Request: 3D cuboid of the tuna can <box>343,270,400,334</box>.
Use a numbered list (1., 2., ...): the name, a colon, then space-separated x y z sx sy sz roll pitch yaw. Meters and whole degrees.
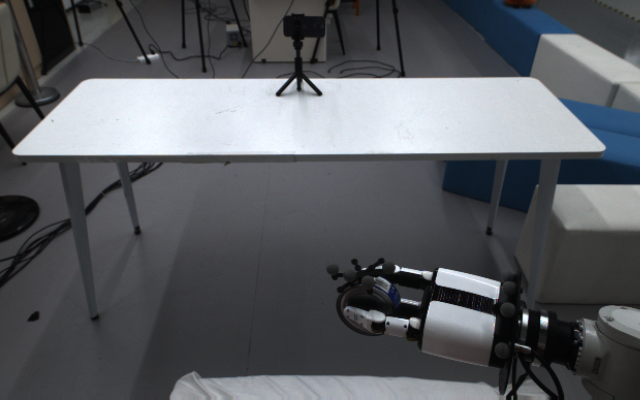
1. tuna can: 0.070 0.144 0.671 0.085 0.085 0.034 13 29 15
